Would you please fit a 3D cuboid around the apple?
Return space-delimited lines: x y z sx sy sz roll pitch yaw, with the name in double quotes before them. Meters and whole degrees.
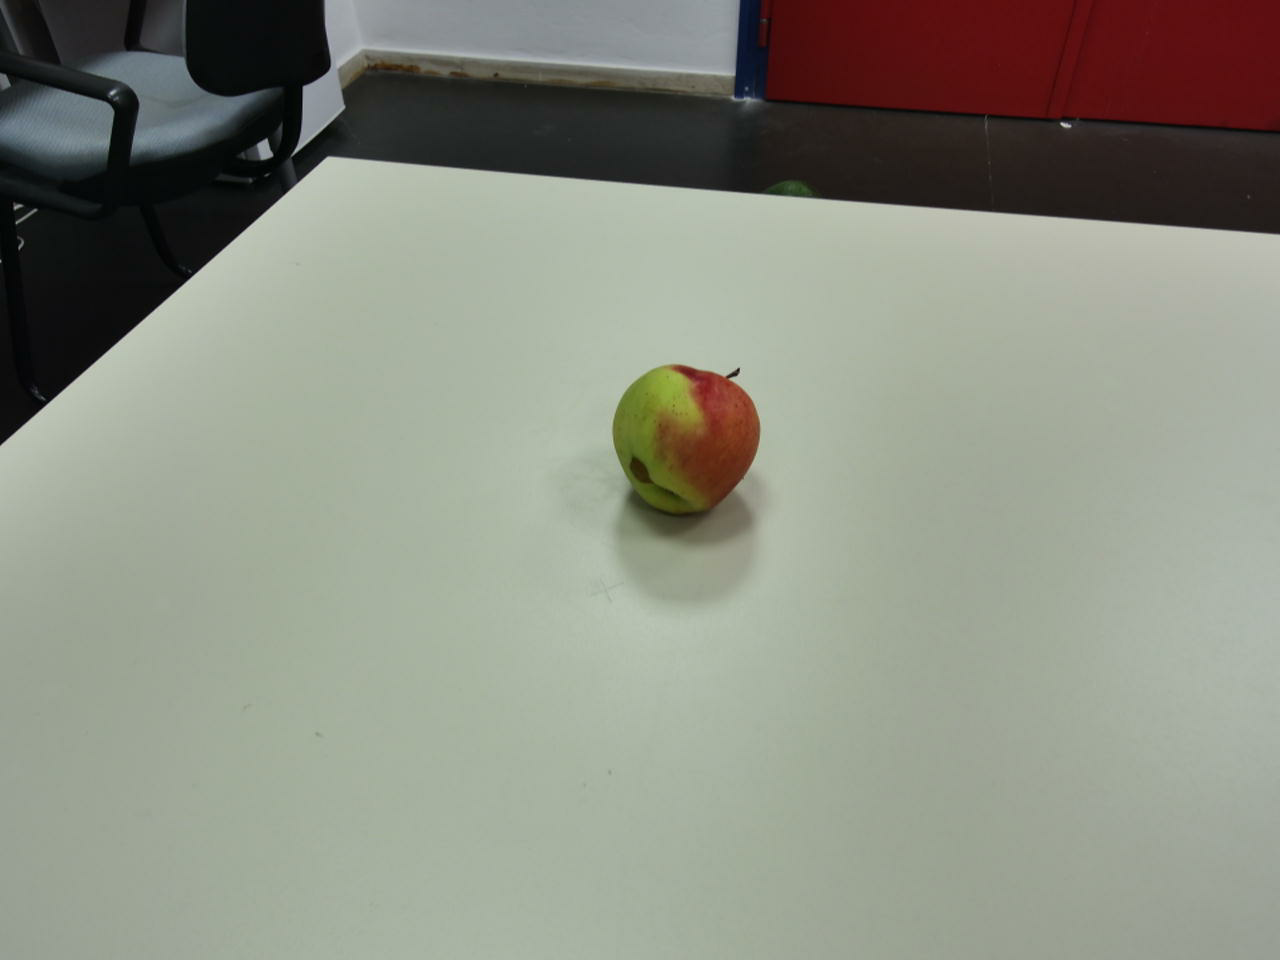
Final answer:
"apple" 0.024 -0.021 0.508 0.075 0.074 0.075 -4 39 -5
